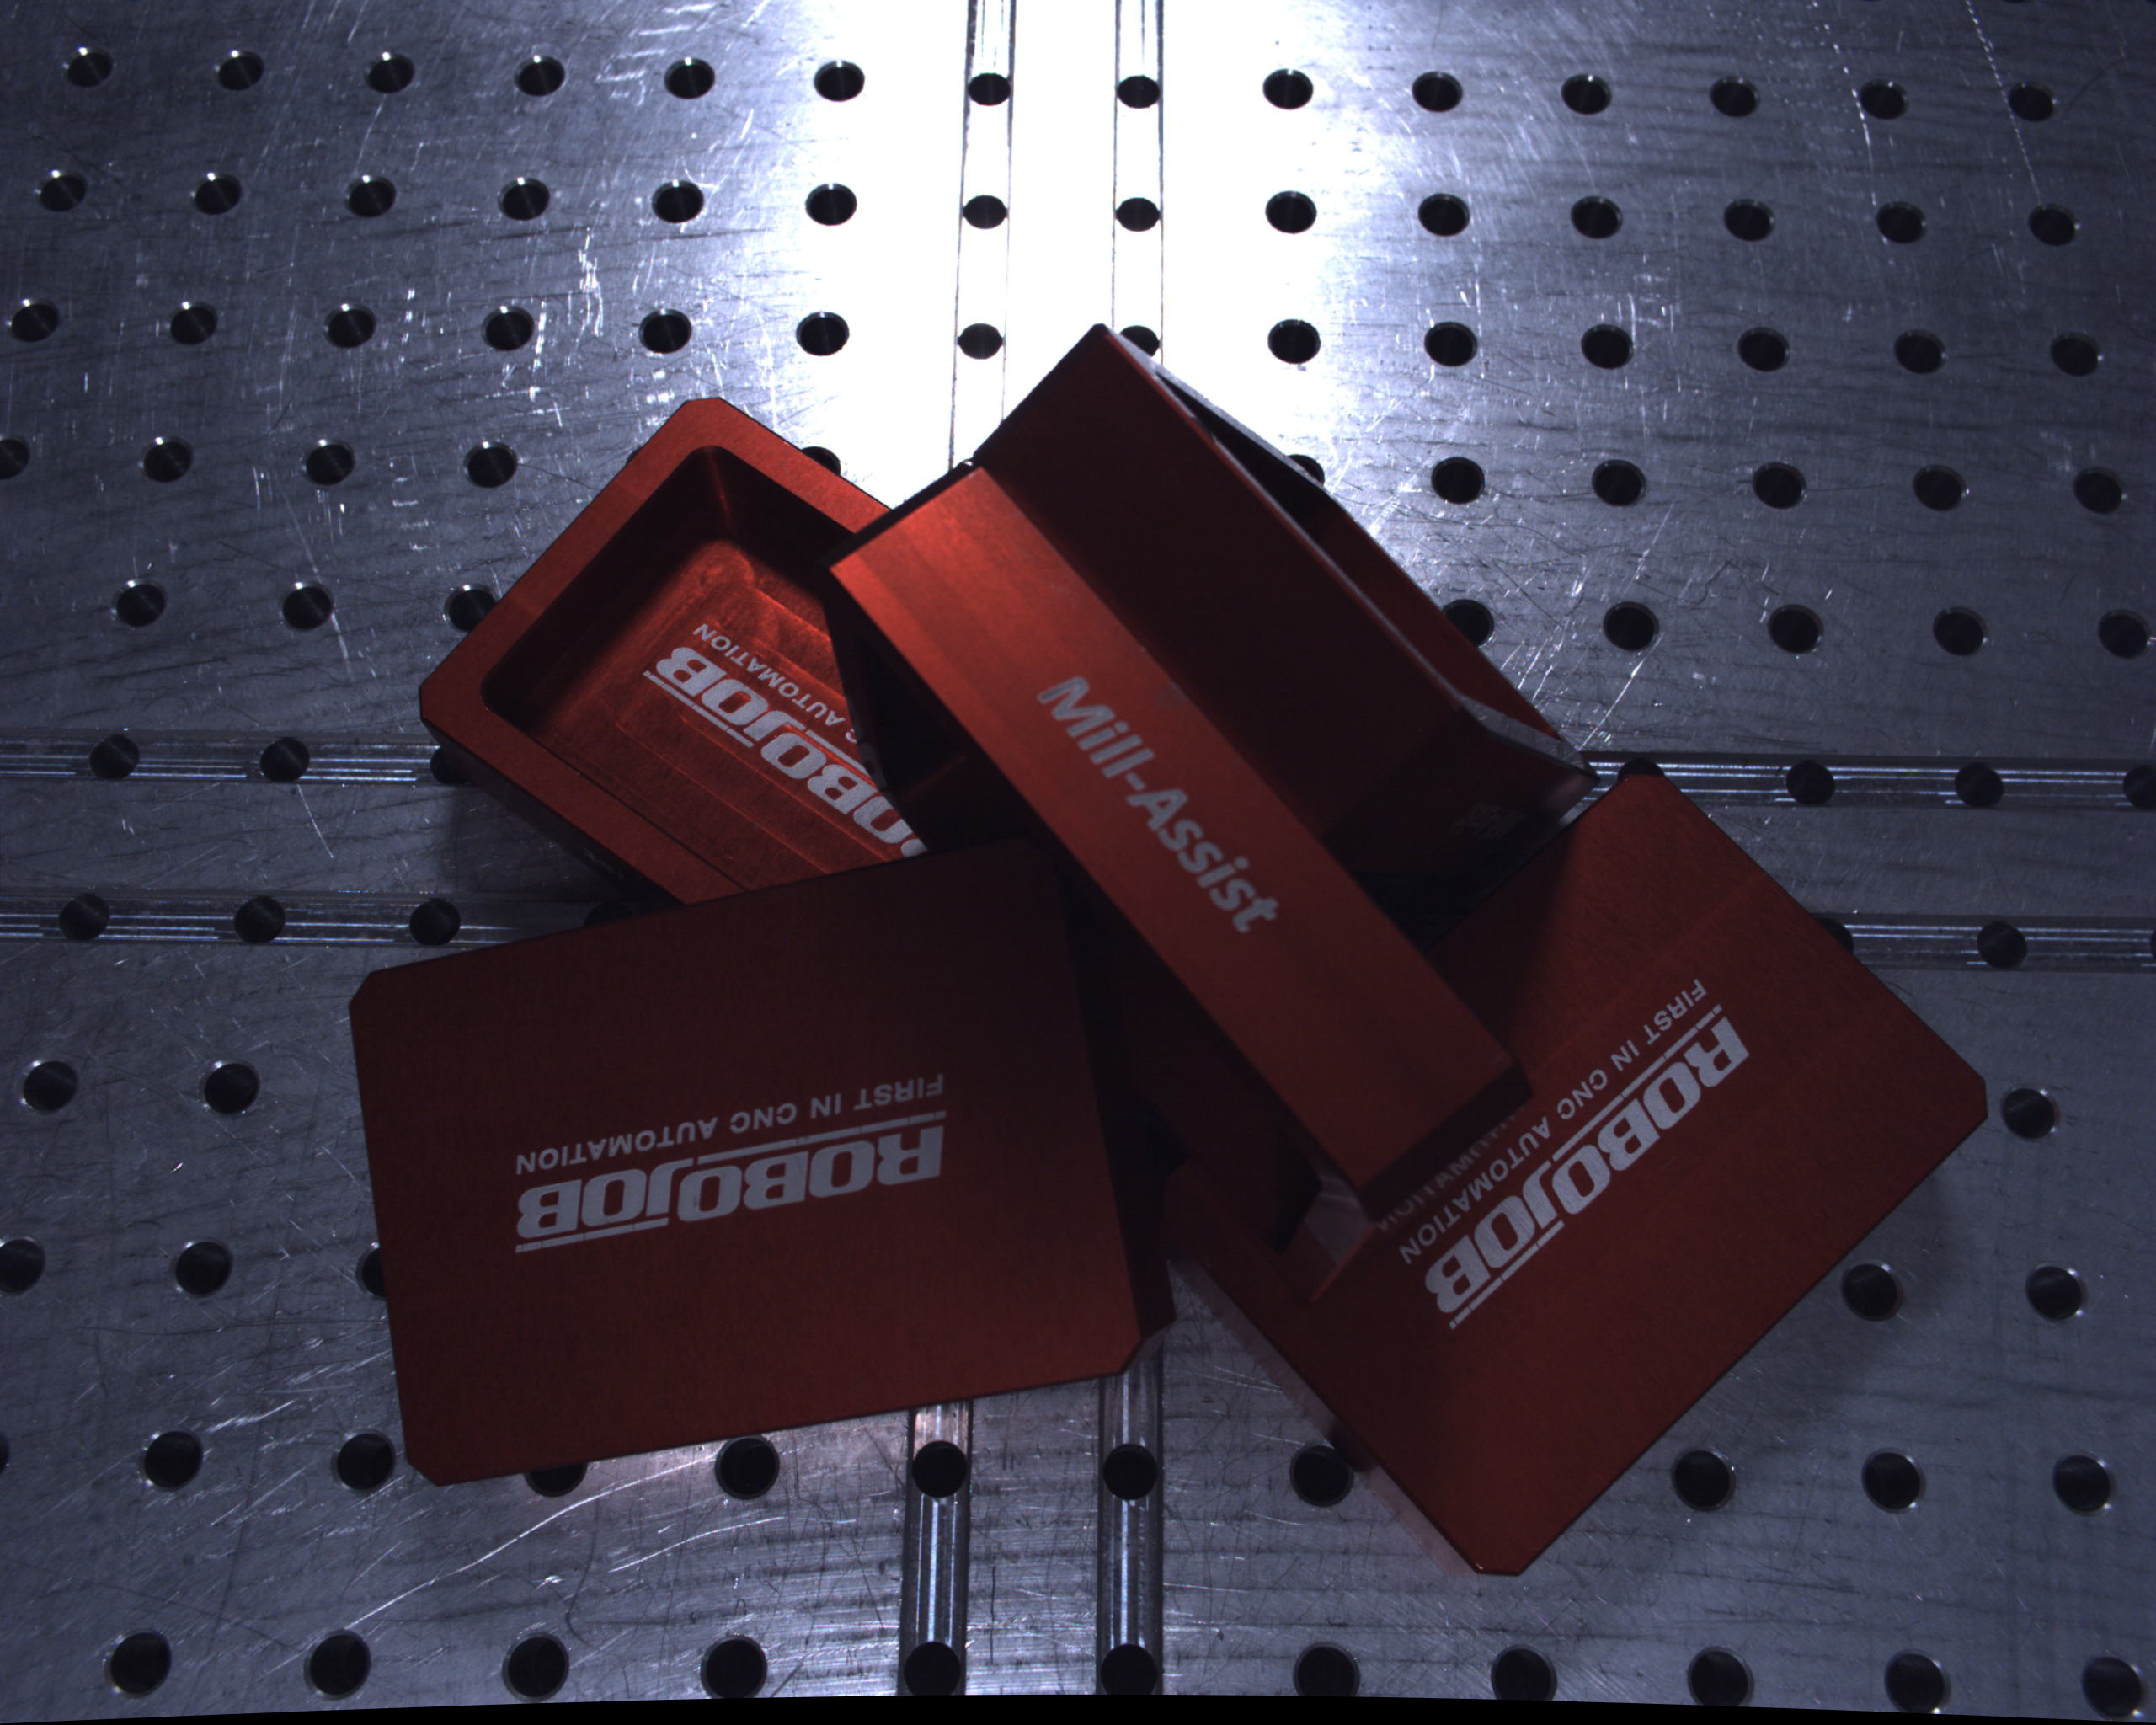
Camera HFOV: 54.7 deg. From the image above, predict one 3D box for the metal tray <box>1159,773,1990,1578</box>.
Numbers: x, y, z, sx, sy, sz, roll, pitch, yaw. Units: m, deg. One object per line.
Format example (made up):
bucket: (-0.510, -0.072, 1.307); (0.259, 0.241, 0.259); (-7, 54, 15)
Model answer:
metal tray: (0.090, 0.056, 0.388); (0.130, 0.030, 0.090); (-39, 75, -14)

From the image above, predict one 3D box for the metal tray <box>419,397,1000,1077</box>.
metal tray: (-0.051, -0.024, 0.417); (0.130, 0.030, 0.090); (34, 73, 11)

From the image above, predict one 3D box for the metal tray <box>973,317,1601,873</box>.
metal tray: (0.043, -0.041, 0.372); (0.030, 0.130, 0.090); (-45, 74, 15)

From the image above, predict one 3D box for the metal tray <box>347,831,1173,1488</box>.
metal tray: (-0.056, 0.052, 0.364); (0.131, 0.030, 0.090); (-12, 81, 10)

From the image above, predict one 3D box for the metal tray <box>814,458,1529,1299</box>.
metal tray: (0.011, 0.006, 0.343); (0.030, 0.090, 0.130); (-37, 75, -12)
